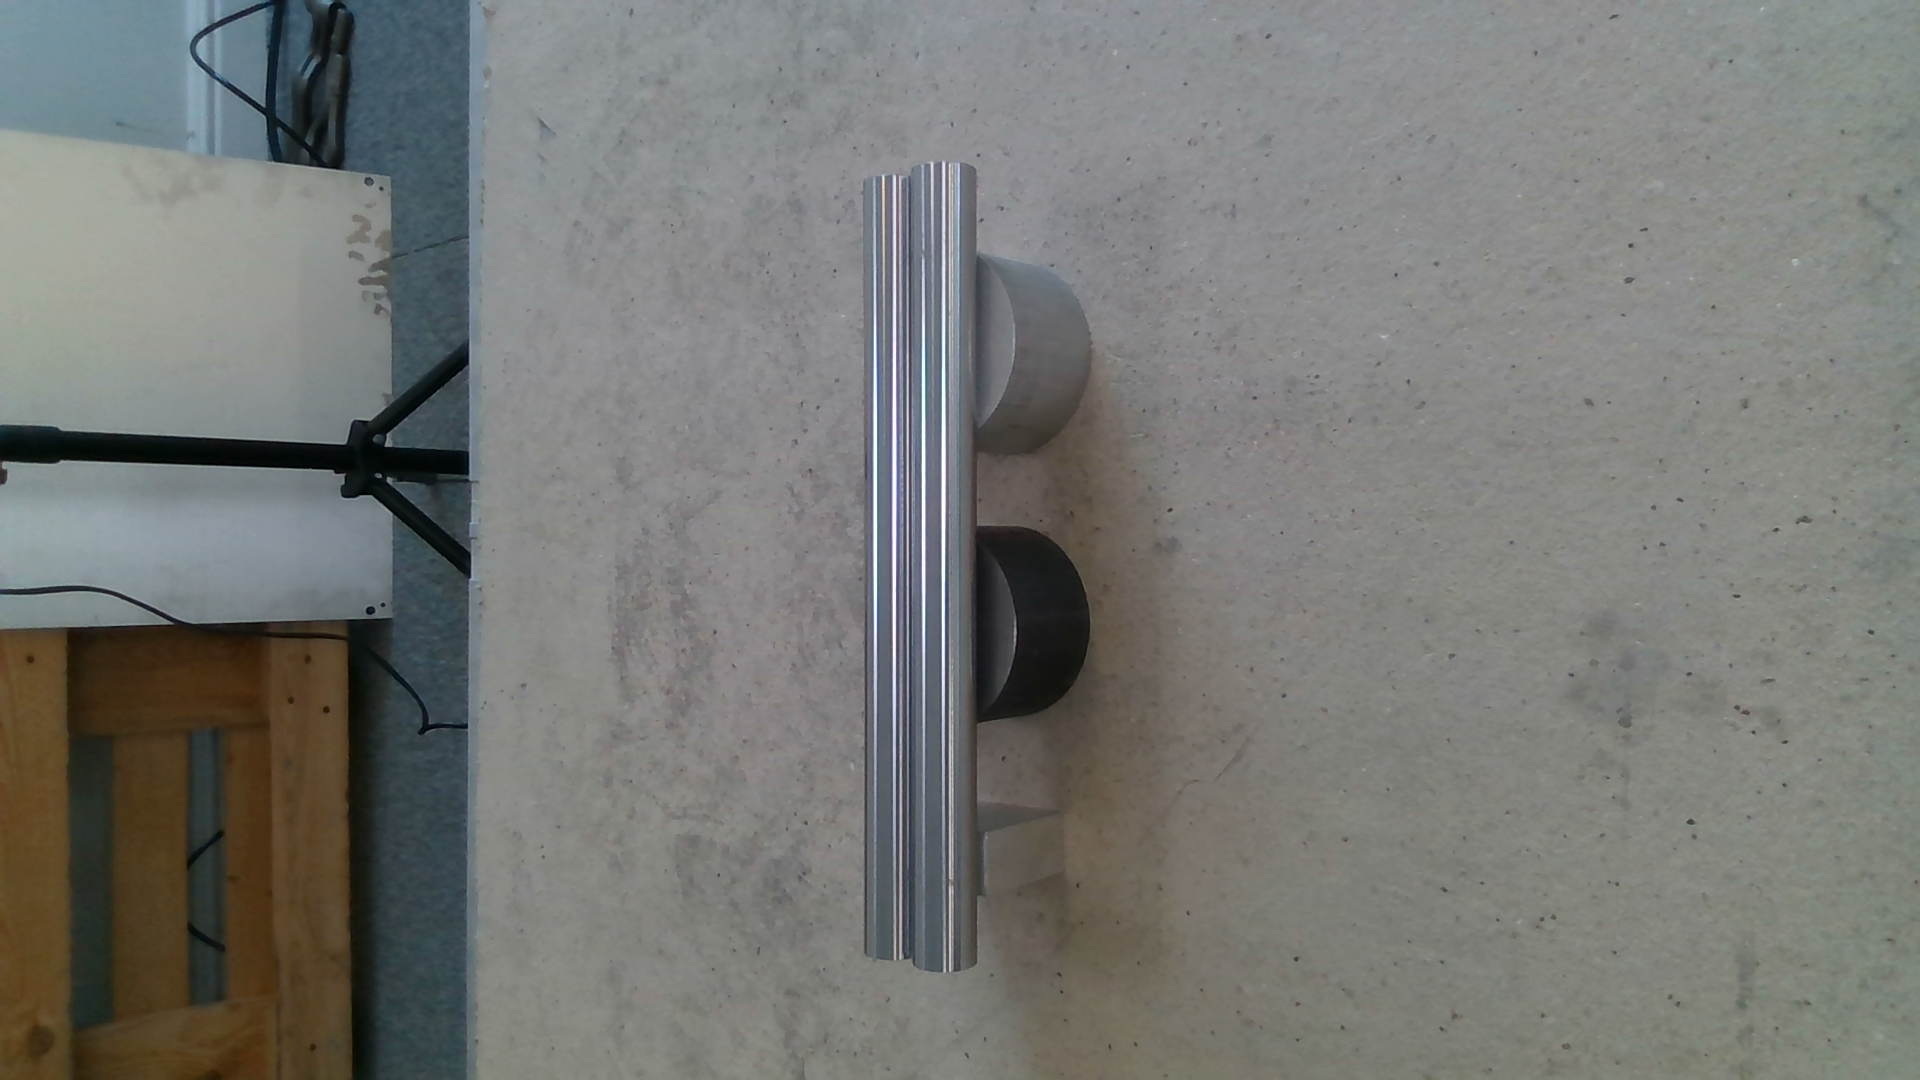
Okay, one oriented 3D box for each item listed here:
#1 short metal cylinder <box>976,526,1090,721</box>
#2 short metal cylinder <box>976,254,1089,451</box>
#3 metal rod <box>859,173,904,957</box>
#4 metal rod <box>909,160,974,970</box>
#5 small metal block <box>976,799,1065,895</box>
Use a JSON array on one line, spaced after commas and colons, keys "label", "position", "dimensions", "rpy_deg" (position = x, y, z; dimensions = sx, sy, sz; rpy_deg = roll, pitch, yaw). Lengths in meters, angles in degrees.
[{"label": "short metal cylinder", "position": [0.006, 0.034, 0.562], "dimensions": [0.080, 0.050, 0.080], "rpy_deg": [0, 91, 40]}, {"label": "short metal cylinder", "position": [0.005, -0.076, 0.560], "dimensions": [0.080, 0.050, 0.080], "rpy_deg": [0, 91, 40]}, {"label": "metal rod", "position": [-0.027, 0.010, 0.539], "dimensions": [0.025, 0.025, 0.300], "rpy_deg": [0, 91, 40]}, {"label": "metal rod", "position": [-0.007, 0.010, 0.522], "dimensions": [0.025, 0.025, 0.300], "rpy_deg": [0, 91, 40]}, {"label": "small metal block", "position": [0.008, 0.124, 0.563], "dimensions": [0.050, 0.050, 0.025], "rpy_deg": [-2, 89, 40]}]
